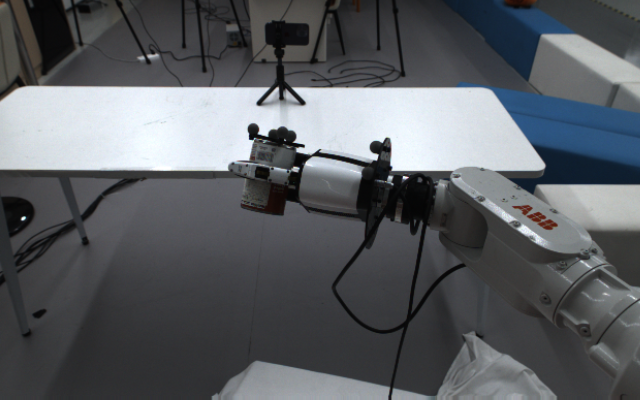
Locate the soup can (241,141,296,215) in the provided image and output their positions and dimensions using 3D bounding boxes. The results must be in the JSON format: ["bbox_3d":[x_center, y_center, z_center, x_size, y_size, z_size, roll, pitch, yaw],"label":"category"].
[{"bbox_3d":[-0.076,-0.032,0.715,0.067,0.101,0.067,12,2,0],"label":"soup can"}]
